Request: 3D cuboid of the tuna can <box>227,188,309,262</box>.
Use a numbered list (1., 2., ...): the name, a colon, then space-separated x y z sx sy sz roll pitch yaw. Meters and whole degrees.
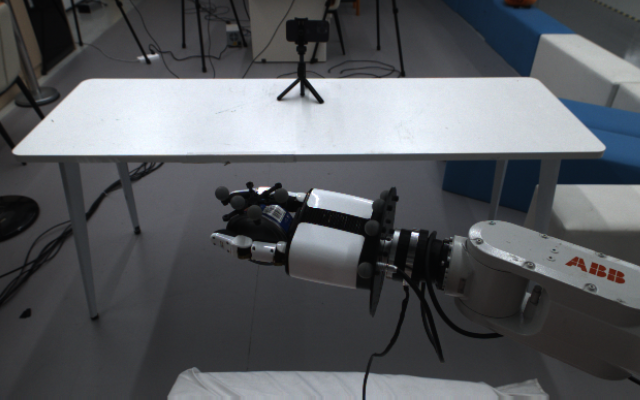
1. tuna can: -0.071 0.041 0.616 0.085 0.085 0.034 11 39 13
